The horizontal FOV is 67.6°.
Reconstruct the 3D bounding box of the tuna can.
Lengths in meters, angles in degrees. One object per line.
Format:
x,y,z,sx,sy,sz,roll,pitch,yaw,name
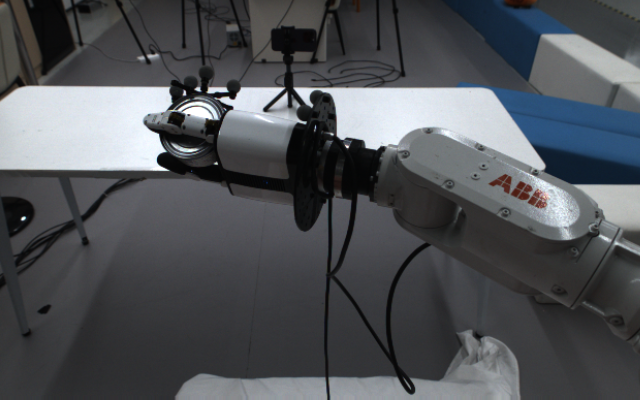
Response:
-0.150,-0.084,0.591,0.085,0.034,0.085,-5,70,14,tuna can
